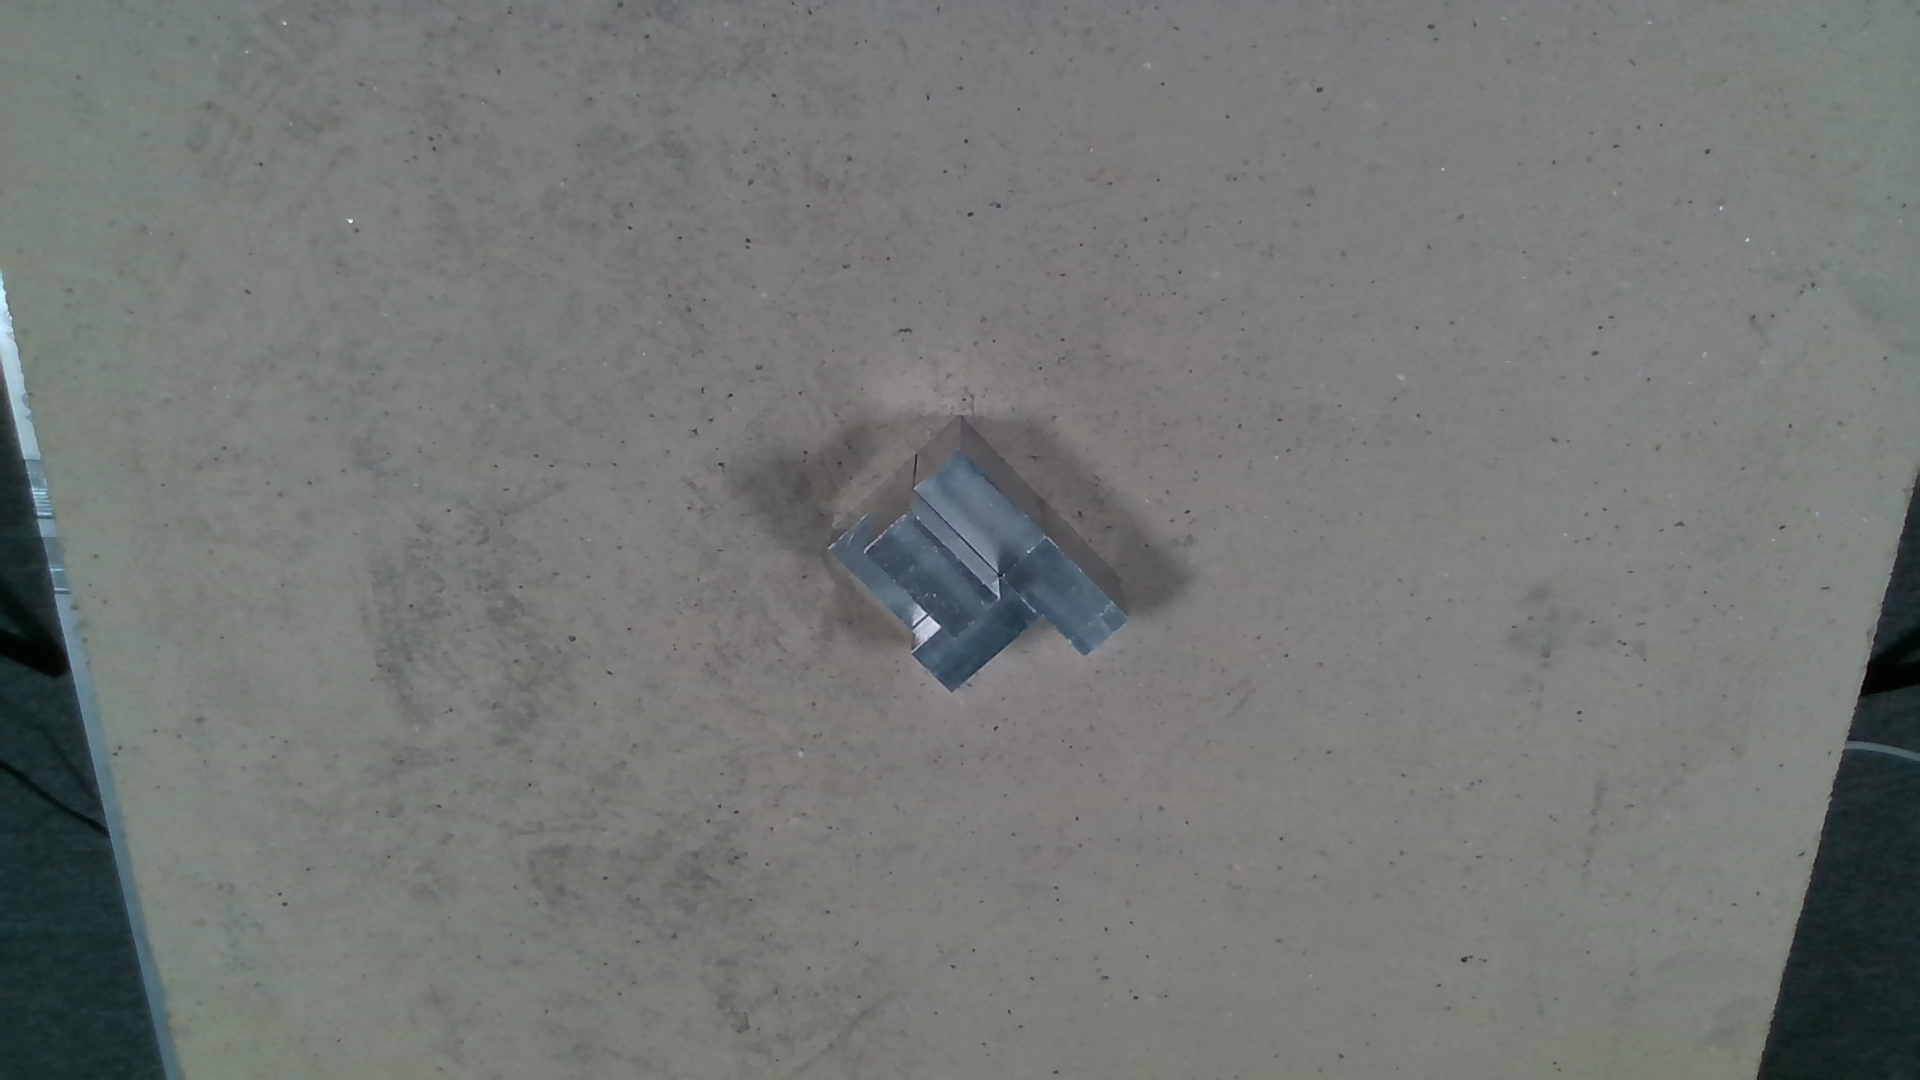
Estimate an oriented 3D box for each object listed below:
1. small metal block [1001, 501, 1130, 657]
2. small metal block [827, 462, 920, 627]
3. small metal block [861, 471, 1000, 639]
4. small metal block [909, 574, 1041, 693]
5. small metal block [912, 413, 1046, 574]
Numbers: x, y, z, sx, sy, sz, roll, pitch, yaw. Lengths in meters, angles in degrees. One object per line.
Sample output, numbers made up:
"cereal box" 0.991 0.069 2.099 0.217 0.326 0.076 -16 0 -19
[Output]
"small metal block" 0.042 0.014 0.576 0.025 0.050 0.050 -42 105 14
"small metal block" -0.020 0.001 0.585 0.050 0.025 0.050 -41 105 14
"small metal block" -0.011 0.005 0.546 0.025 0.050 0.050 -42 105 14
"small metal block" 0.006 0.030 0.582 0.050 0.050 0.025 -41 105 14
"small metal block" 0.008 -0.020 0.564 0.025 0.050 0.050 -42 105 14
